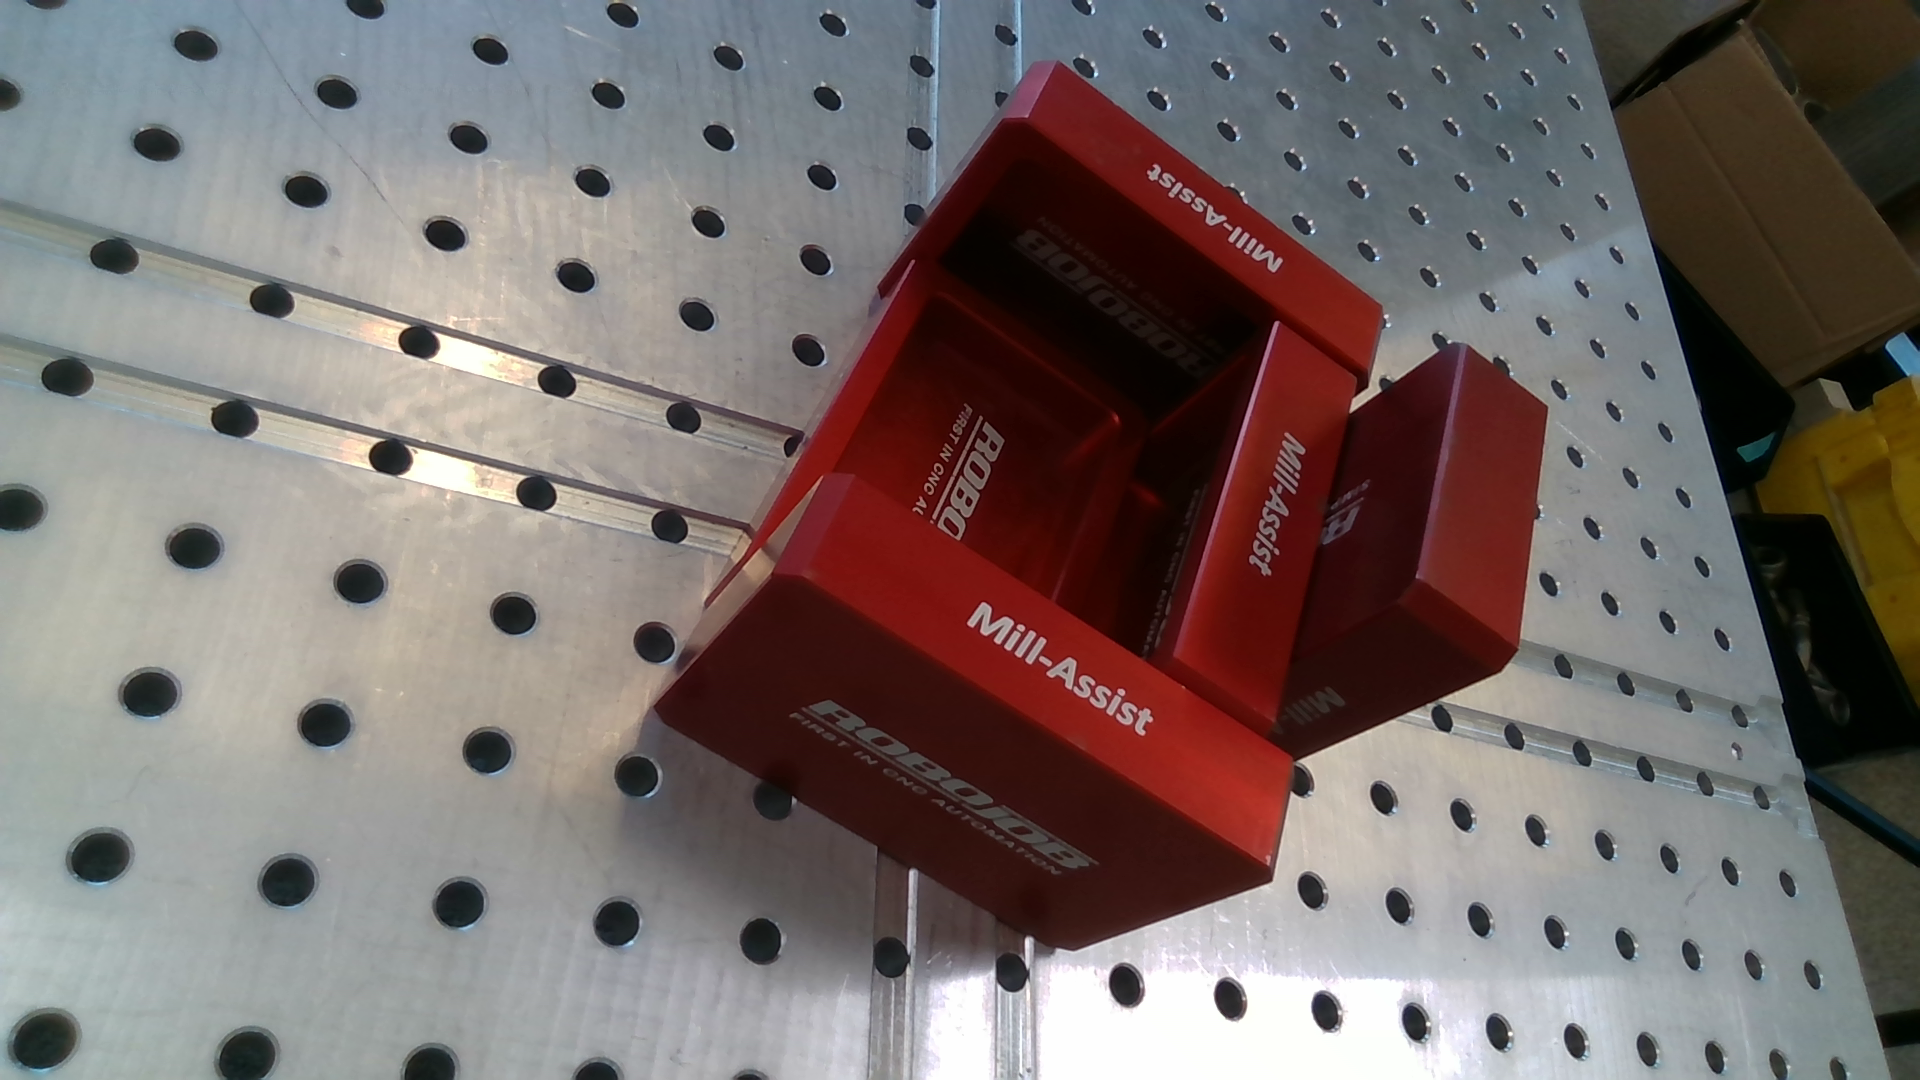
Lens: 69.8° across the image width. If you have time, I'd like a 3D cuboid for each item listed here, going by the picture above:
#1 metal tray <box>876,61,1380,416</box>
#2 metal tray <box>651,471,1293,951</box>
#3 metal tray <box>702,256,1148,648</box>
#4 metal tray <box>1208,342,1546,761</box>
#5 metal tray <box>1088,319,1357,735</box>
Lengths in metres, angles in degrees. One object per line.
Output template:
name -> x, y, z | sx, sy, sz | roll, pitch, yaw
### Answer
metal tray -> 0.050, -0.073, 0.424 | 0.130, 0.090, 0.030 | 33, 53, -13
metal tray -> 0.001, 0.047, 0.329 | 0.130, 0.090, 0.030 | 33, 52, -13
metal tray -> -0.004, -0.010, 0.395 | 0.090, 0.030, 0.130 | 33, 53, -12
metal tray -> 0.096, 0.014, 0.379 | 0.030, 0.130, 0.090 | 34, 53, -12
metal tray -> 0.060, 0.009, 0.386 | 0.030, 0.090, 0.130 | 33, 53, -12
